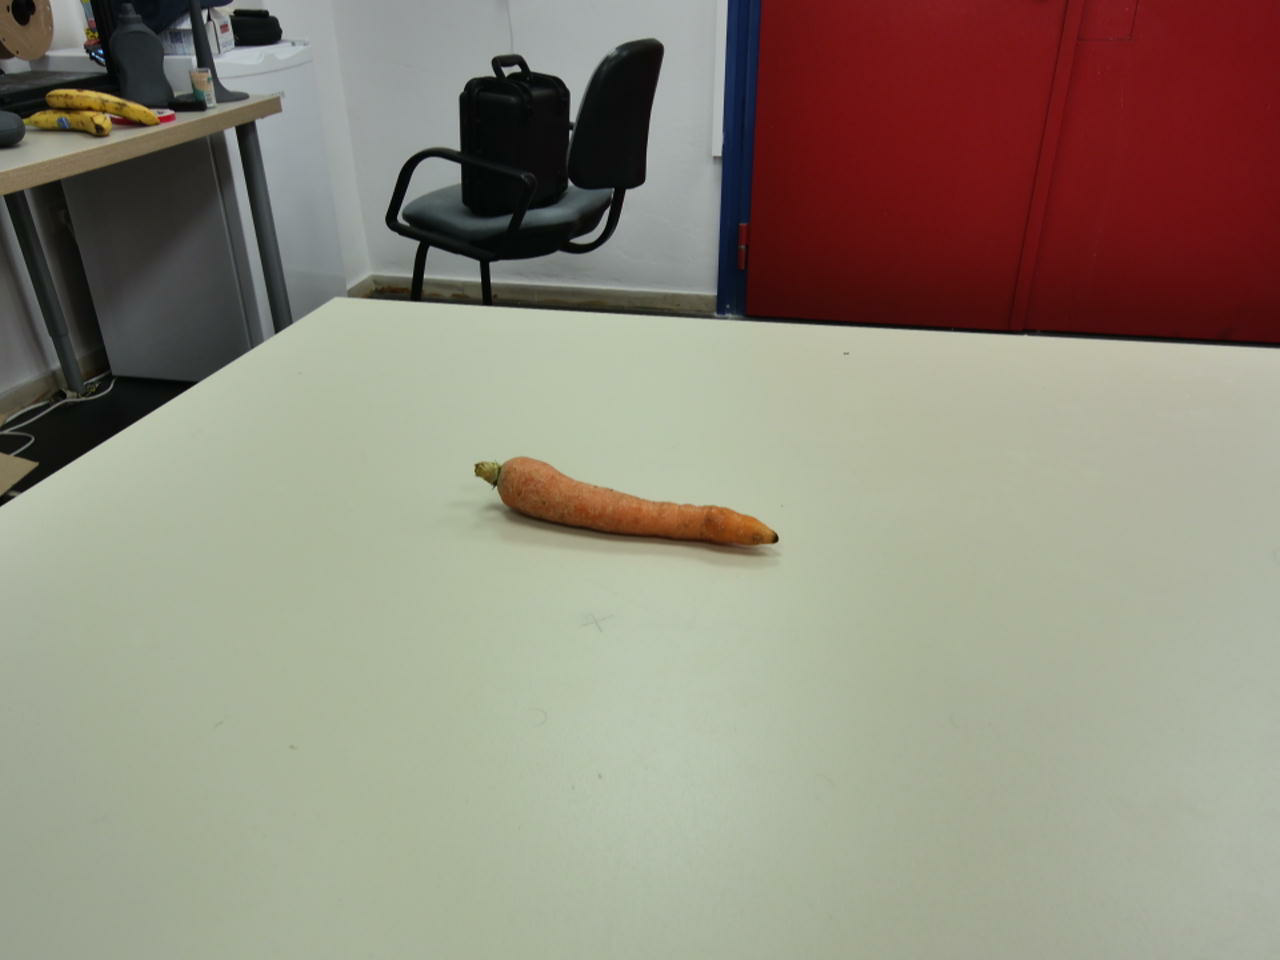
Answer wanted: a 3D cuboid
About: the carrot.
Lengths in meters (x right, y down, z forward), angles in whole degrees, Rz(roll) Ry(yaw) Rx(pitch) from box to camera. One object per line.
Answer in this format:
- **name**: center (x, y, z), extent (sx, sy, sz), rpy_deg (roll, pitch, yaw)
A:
- **carrot**: center (-0.010, 0.013, 0.528), extent (0.173, 0.032, 0.030), rpy_deg (10, 27, 20)
